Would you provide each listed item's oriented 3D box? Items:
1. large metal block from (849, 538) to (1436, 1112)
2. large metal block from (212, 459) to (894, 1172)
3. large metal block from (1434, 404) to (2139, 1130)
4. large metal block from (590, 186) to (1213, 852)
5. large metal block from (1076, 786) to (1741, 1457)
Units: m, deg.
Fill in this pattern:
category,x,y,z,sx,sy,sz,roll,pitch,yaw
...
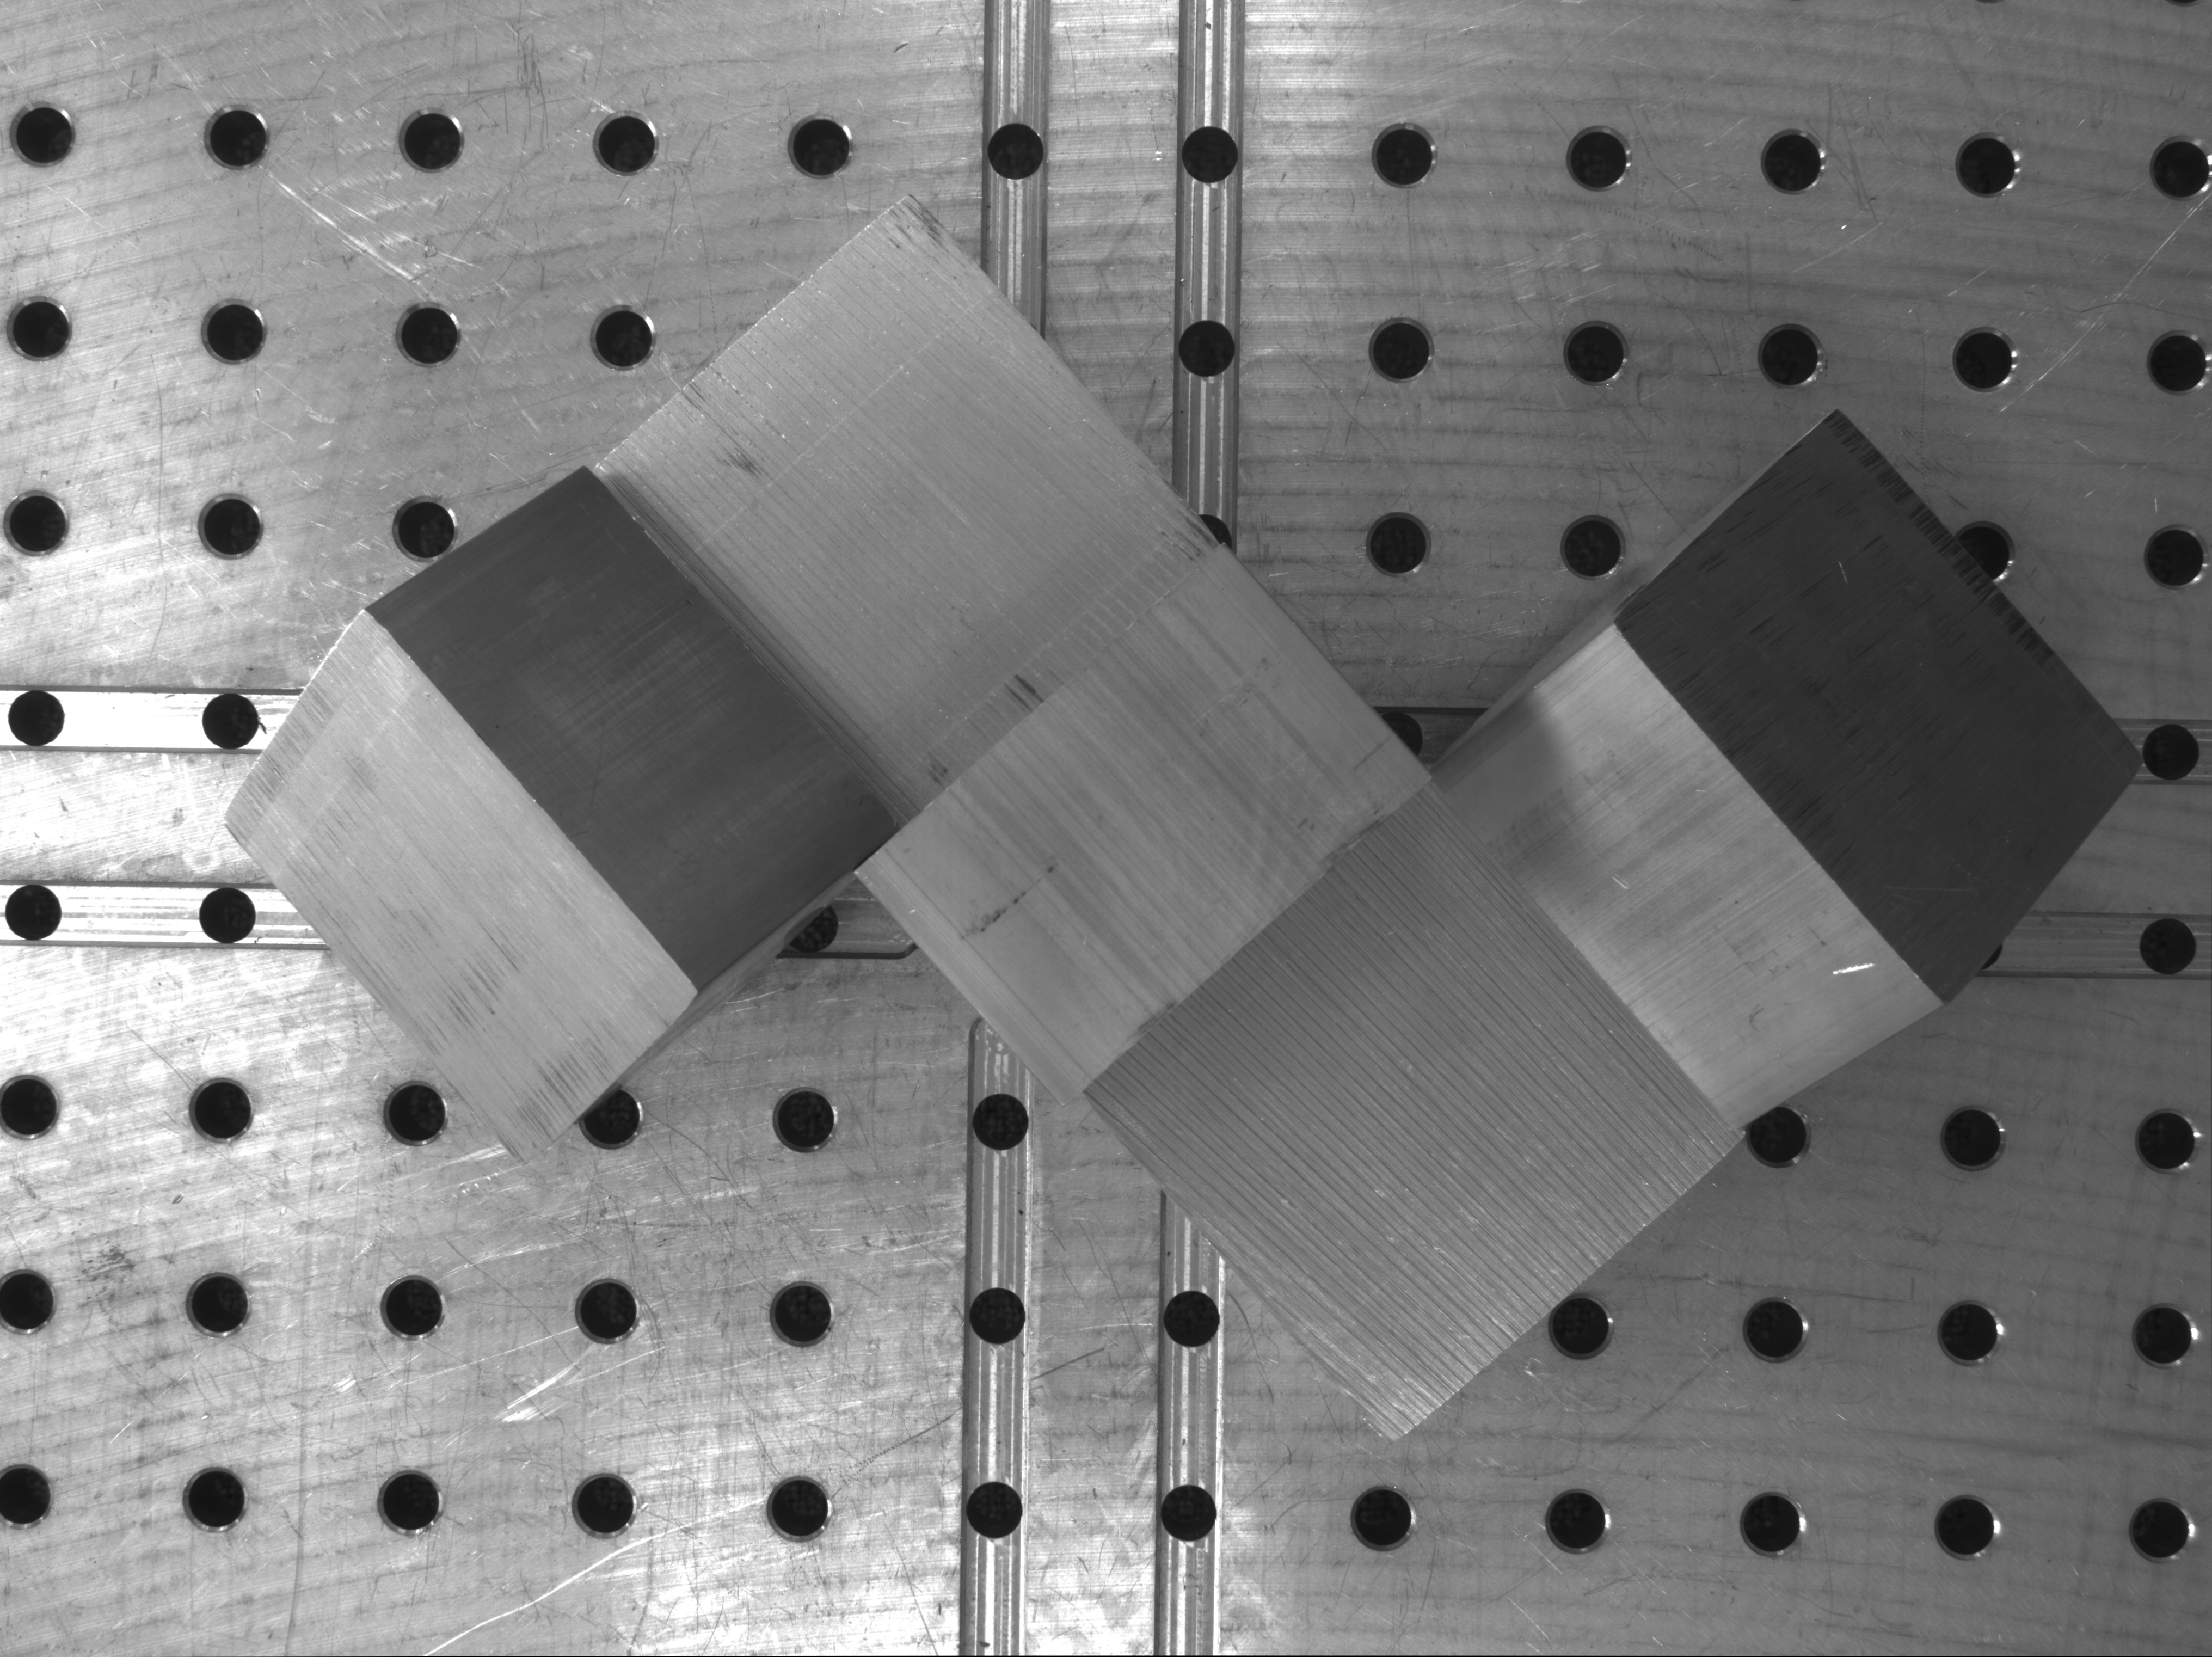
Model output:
category,x,y,z,sx,sy,sz,roll,pitch,yaw
large metal block,0.005,-0.001,0.620,0.080,0.080,0.050,-42,91,0
large metal block,-0.093,-0.001,0.613,0.080,0.080,0.050,49,51,0
large metal block,0.114,-0.011,0.615,0.080,0.050,0.080,49,50,0
large metal block,-0.037,-0.051,0.636,0.080,0.050,0.080,-42,90,1
large metal block,0.050,0.048,0.635,0.080,0.050,0.080,-41,88,0
